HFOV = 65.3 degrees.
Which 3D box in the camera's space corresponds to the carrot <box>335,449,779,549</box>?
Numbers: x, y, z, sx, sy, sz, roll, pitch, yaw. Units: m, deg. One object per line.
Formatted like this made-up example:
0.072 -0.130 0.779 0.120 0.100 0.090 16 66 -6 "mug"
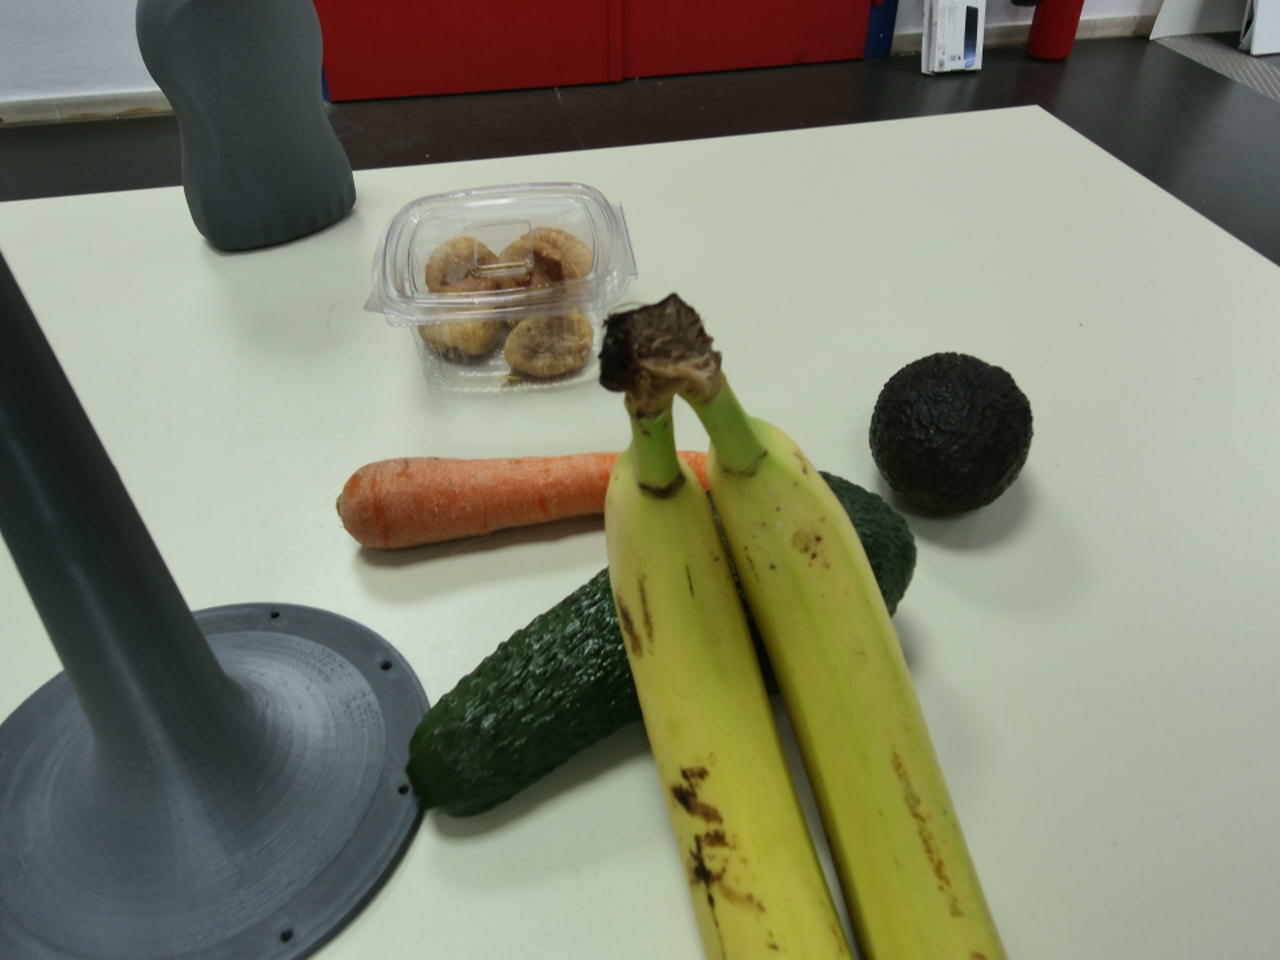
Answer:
-0.032 0.000 0.442 0.196 0.041 0.039 -8 39 -10 "carrot"
